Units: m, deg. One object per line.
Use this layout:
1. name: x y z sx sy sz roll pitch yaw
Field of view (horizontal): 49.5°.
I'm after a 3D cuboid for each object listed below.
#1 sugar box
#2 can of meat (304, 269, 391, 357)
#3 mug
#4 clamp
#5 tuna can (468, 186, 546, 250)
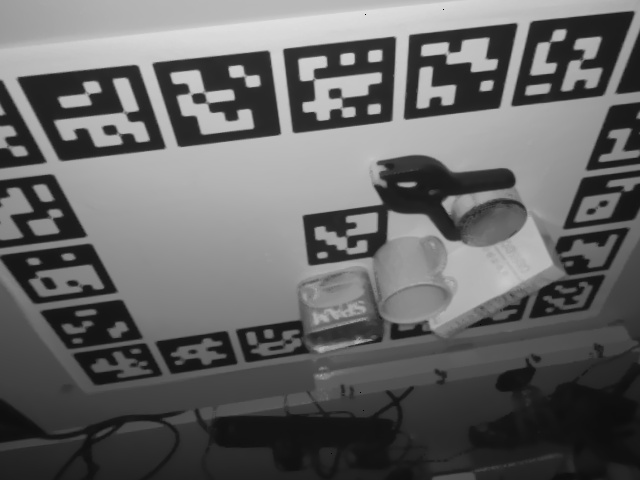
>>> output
1. sugar box: 0.221 0.045 0.851 0.174 0.093 0.046 -33 135 26
2. can of meat: 0.032 0.090 0.868 0.102 0.084 0.057 -12 139 4
3. mug: 0.129 0.050 0.832 0.094 0.082 0.115 11 133 -21
4. clamp: 0.135 -0.060 0.760 0.167 0.037 0.120 21 134 -25
5. tuna can: 0.216 -0.029 0.802 0.086 0.034 0.085 -6 136 -5
